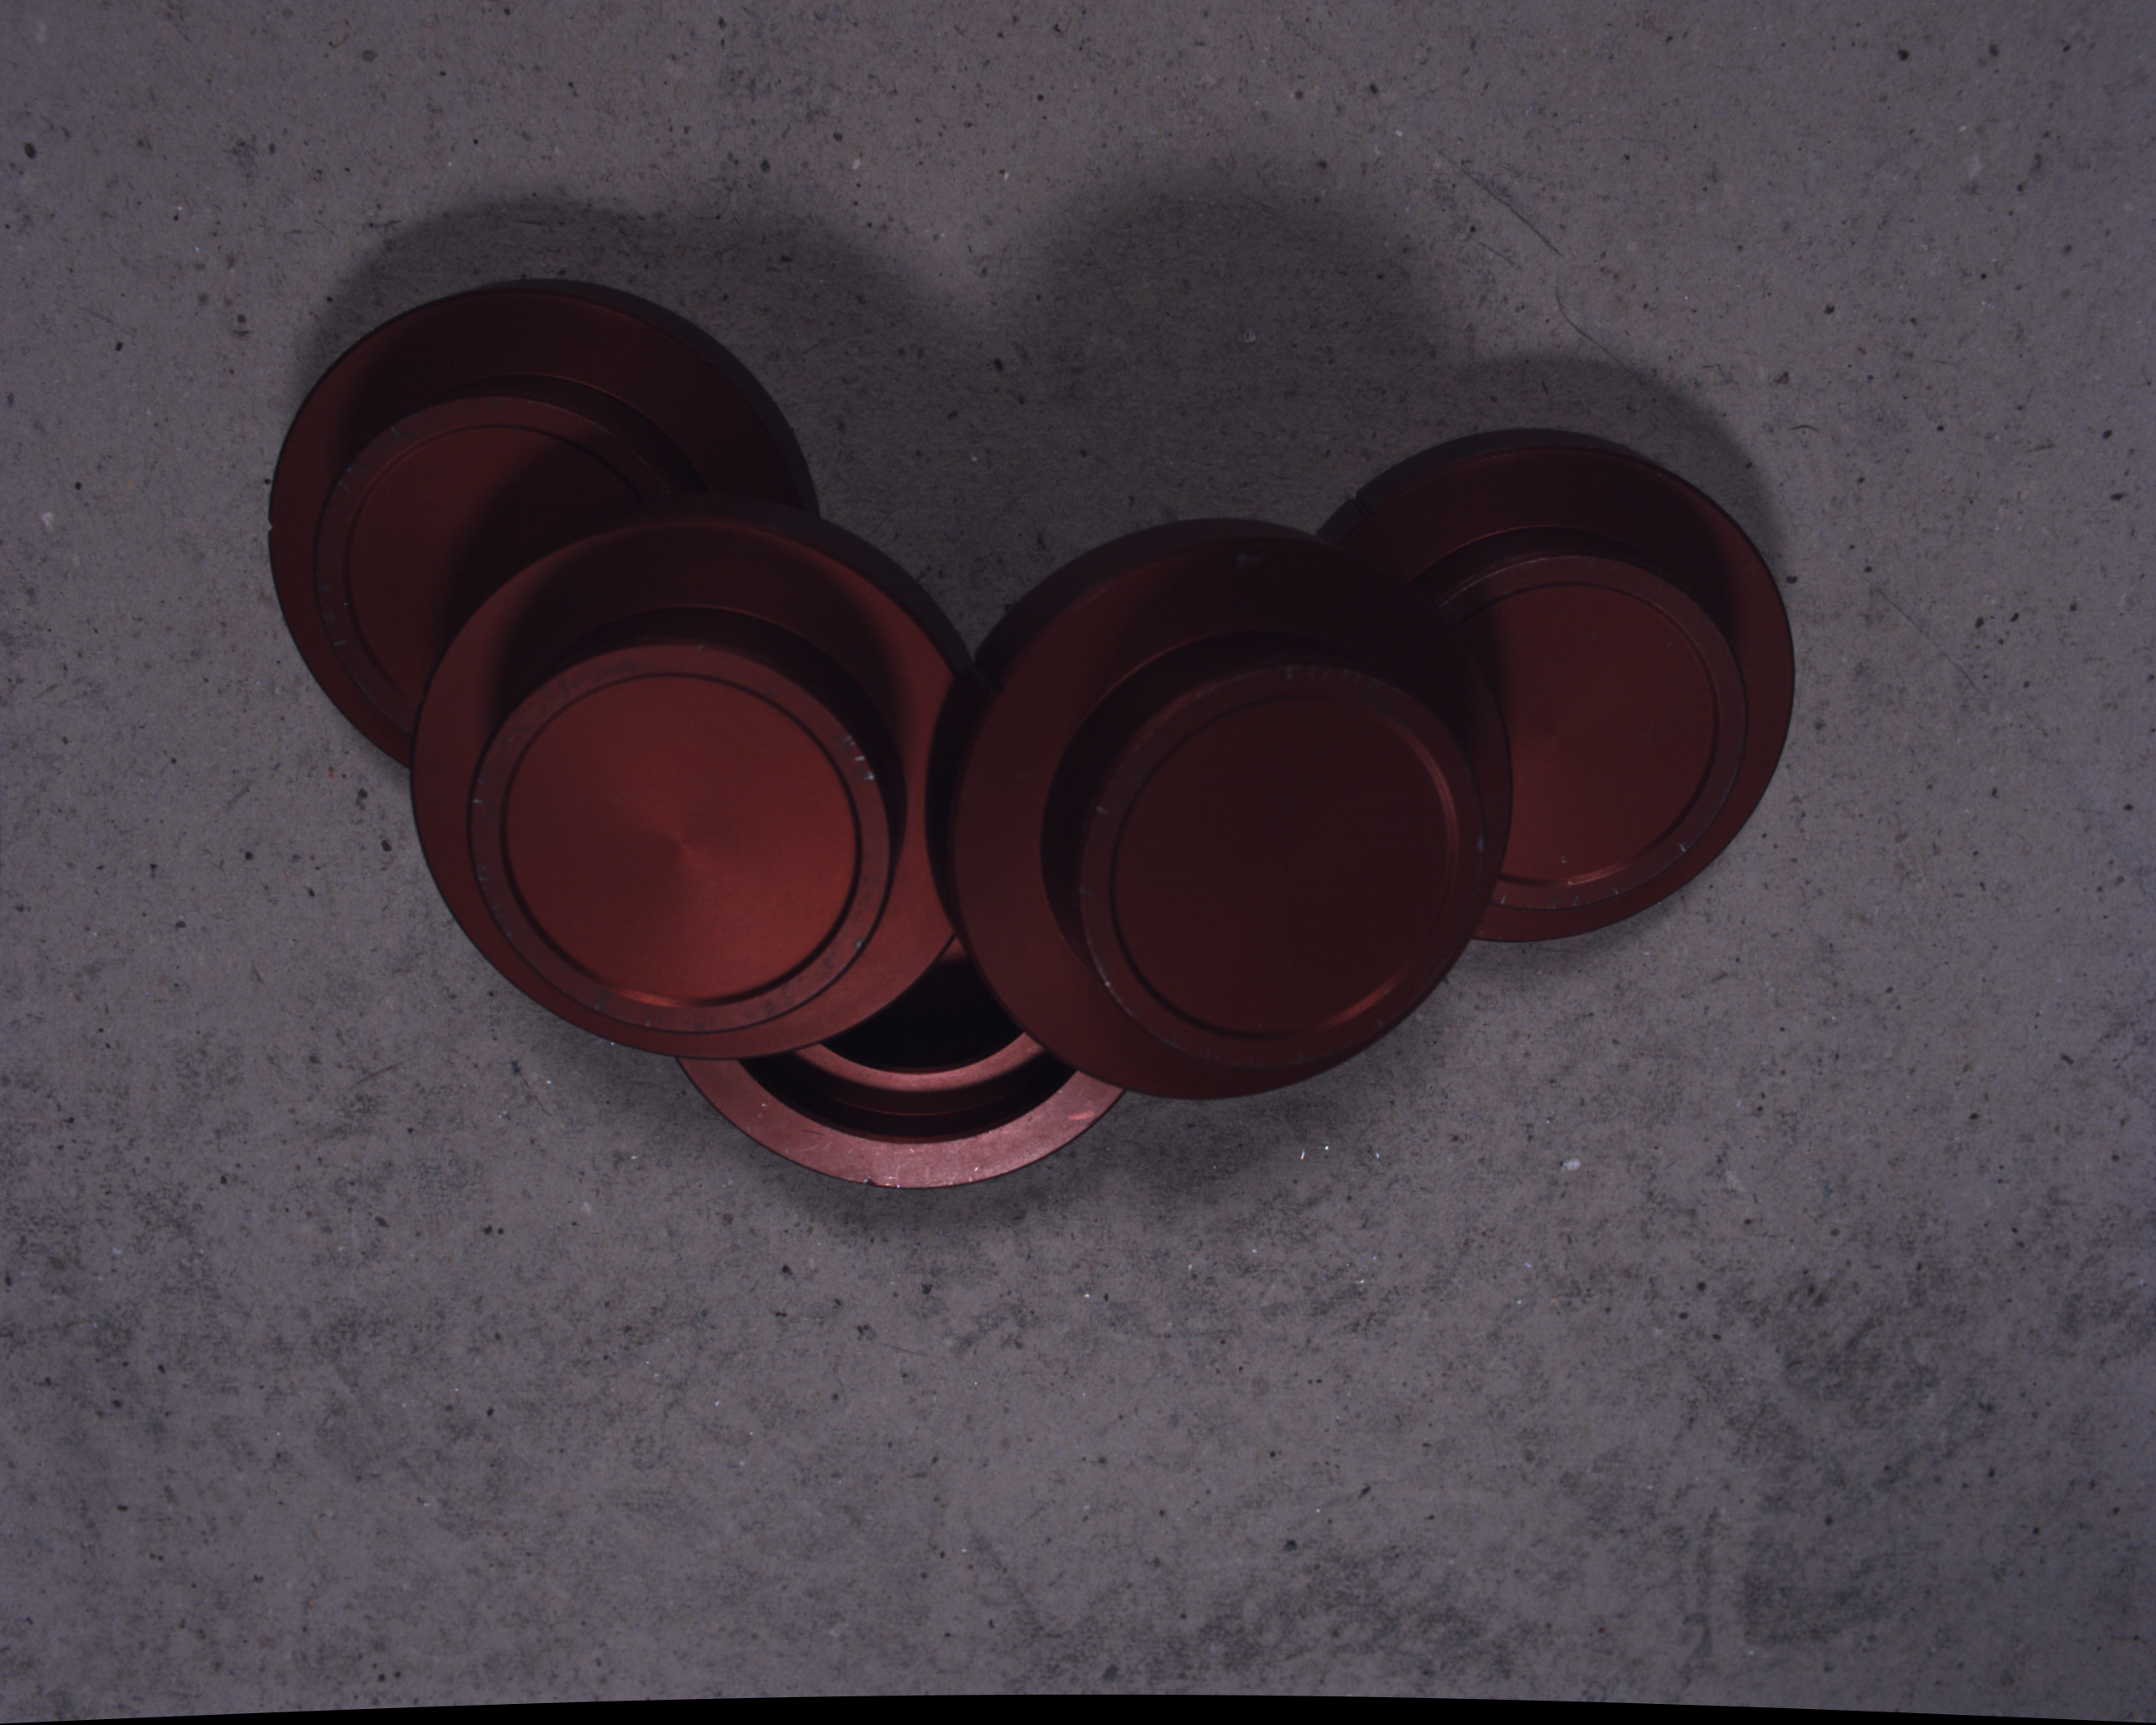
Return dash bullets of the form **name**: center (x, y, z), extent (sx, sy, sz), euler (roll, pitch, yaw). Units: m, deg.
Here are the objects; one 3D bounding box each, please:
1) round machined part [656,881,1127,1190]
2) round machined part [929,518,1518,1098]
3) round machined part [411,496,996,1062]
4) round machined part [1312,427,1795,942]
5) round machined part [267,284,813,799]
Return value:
- **round machined part**: center (-0.032, 0.011, 0.405), extent (0.099, 0.042, 0.097), euler (0, 110, -1)
- **round machined part**: center (0.027, -0.005, 0.345), extent (0.099, 0.042, 0.097), euler (-5, 109, -13)
- **round machined part**: center (-0.063, -0.010, 0.352), extent (0.099, 0.042, 0.097), euler (0, 110, -1)
- **round machined part**: center (0.086, -0.030, 0.392), extent (0.099, 0.042, 0.097), euler (0, 110, -1)
- **round machined part**: center (-0.098, -0.054, 0.380), extent (0.099, 0.042, 0.097), euler (0, 110, -1)
